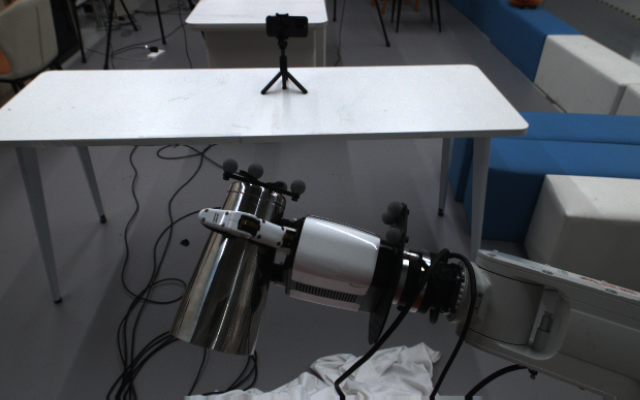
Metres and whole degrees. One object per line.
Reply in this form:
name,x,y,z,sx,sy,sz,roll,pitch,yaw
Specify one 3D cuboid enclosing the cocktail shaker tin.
cocktail shaker tin,-0.088,0.070,0.530,0.093,0.093,0.170,13,79,15
